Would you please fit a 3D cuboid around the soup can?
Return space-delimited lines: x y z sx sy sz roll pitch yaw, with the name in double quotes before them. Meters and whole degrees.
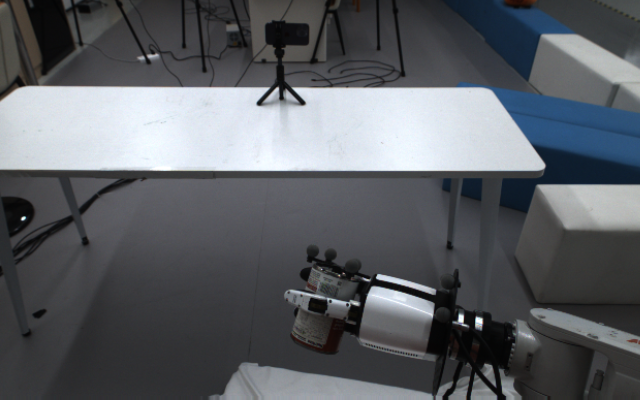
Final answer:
"soup can" 0.010 0.142 0.640 0.067 0.101 0.067 17 -1 0
